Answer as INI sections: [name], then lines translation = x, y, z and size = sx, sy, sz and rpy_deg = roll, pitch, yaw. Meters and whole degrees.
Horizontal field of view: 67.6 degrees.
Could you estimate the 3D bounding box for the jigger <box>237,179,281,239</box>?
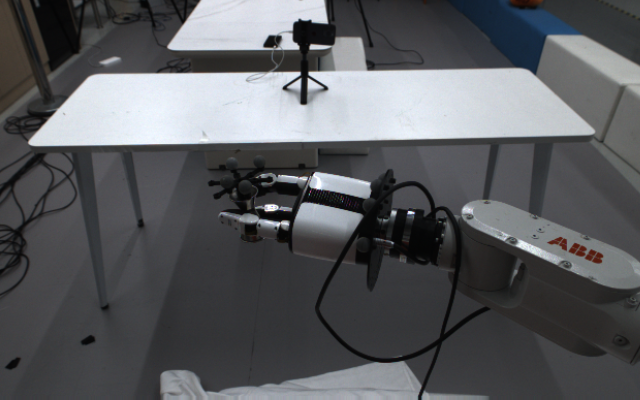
[jigger]
translation = -0.094, 0.016, 0.664
size = 0.043, 0.071, 0.043
rpy_deg = -8, 31, 5
